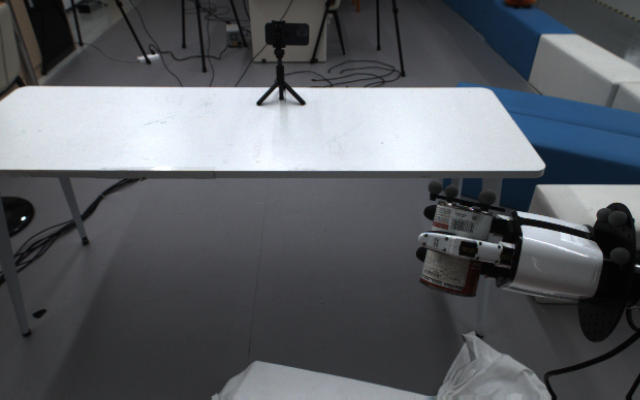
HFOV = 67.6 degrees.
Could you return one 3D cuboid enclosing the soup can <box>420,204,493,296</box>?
[{"bbox_3d":[0.166,0.057,0.583,0.067,0.101,0.067,12,2,-1],"label":"soup can"}]
